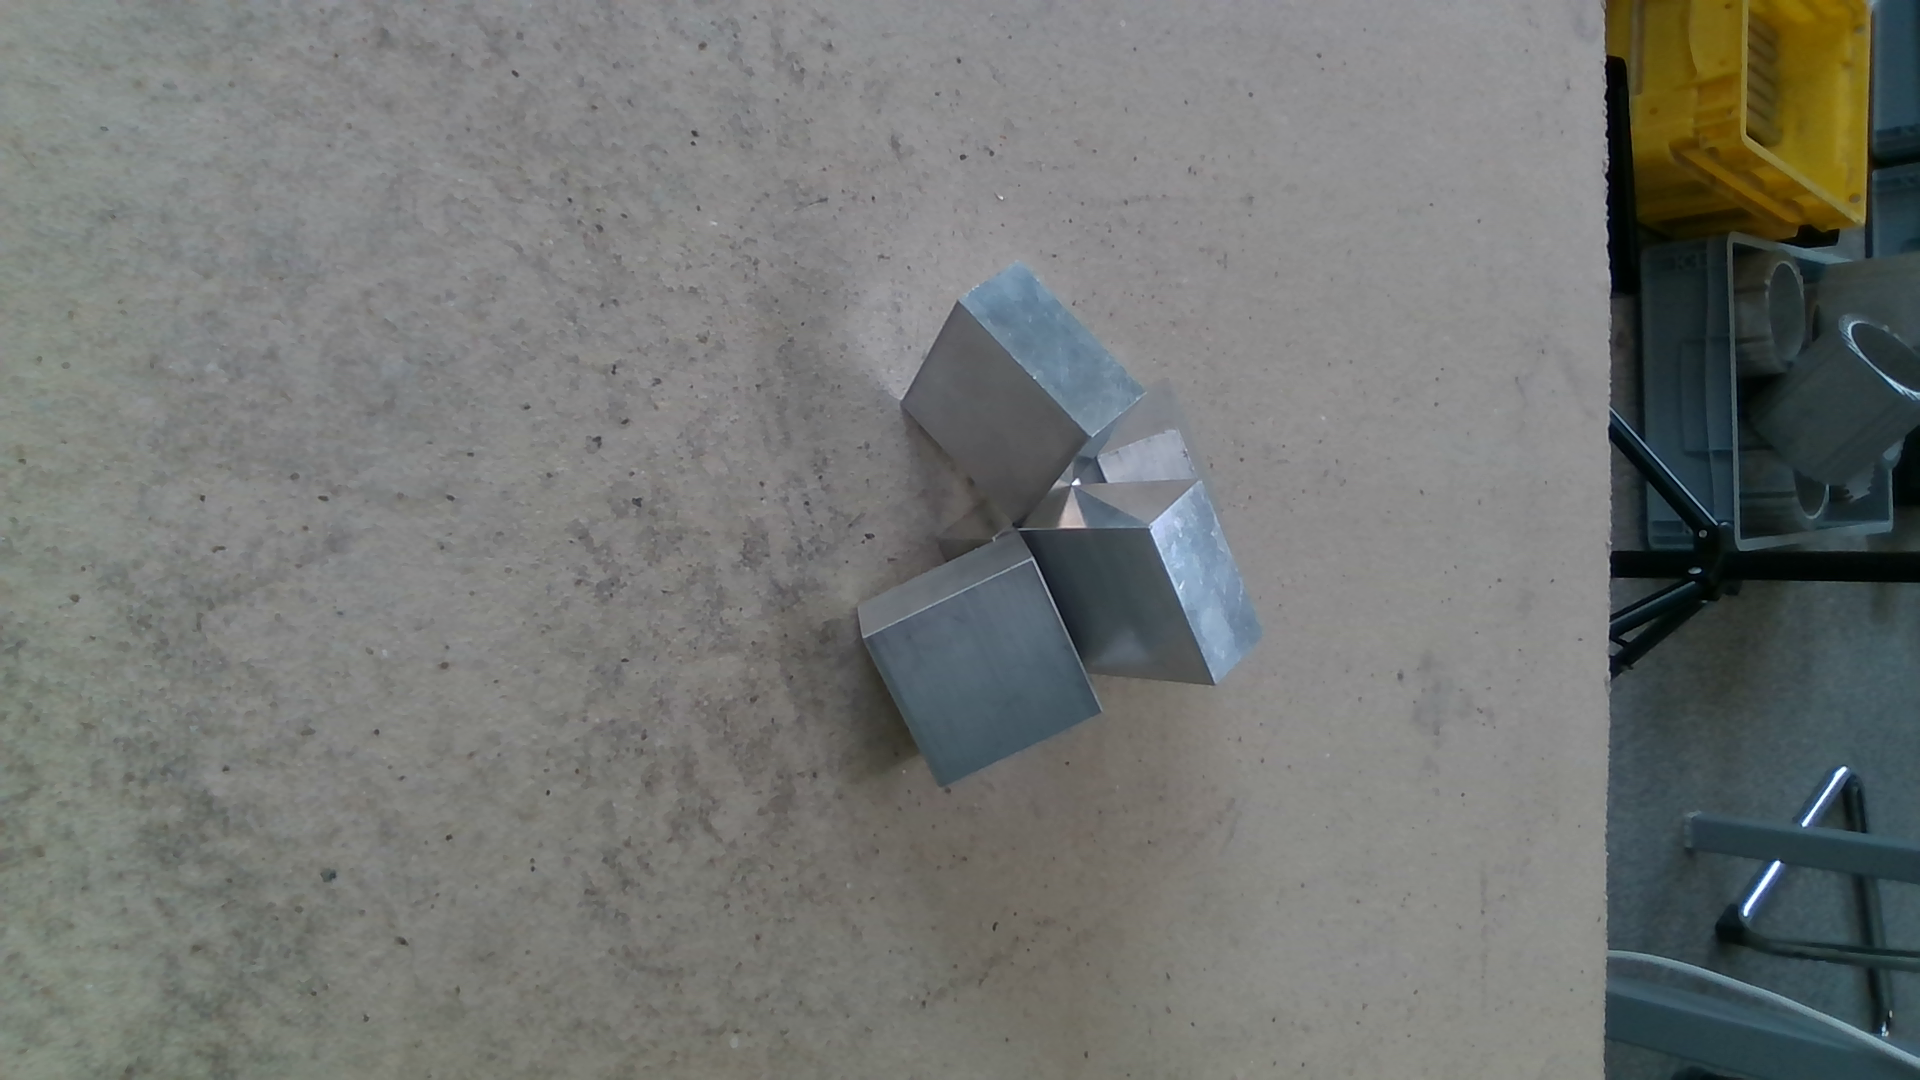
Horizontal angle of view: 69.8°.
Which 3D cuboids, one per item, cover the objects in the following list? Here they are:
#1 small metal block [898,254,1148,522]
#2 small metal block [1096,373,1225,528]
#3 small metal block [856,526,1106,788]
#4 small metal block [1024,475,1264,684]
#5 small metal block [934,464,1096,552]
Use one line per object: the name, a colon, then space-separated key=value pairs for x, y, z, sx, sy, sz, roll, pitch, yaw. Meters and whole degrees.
small metal block: x=0.016 y=-0.040 z=0.376 sx=0.050 sy=0.050 sz=0.025 roll=47 pitch=57 yaw=7
small metal block: x=0.063 y=-0.018 z=0.428 sx=0.050 sy=0.025 sz=0.050 roll=-78 pitch=145 yaw=-66
small metal block: x=0.005 y=0.032 z=0.380 sx=0.050 sy=0.025 sz=0.050 roll=-26 pitch=110 yaw=1
small metal block: x=0.050 y=0.011 z=0.384 sx=0.025 sy=0.050 sz=0.050 roll=-39 pitch=114 yaw=-33
small metal block: x=0.027 y=0.007 z=0.415 sx=0.050 sy=0.025 sz=0.050 roll=-39 pitch=112 yaw=-34
